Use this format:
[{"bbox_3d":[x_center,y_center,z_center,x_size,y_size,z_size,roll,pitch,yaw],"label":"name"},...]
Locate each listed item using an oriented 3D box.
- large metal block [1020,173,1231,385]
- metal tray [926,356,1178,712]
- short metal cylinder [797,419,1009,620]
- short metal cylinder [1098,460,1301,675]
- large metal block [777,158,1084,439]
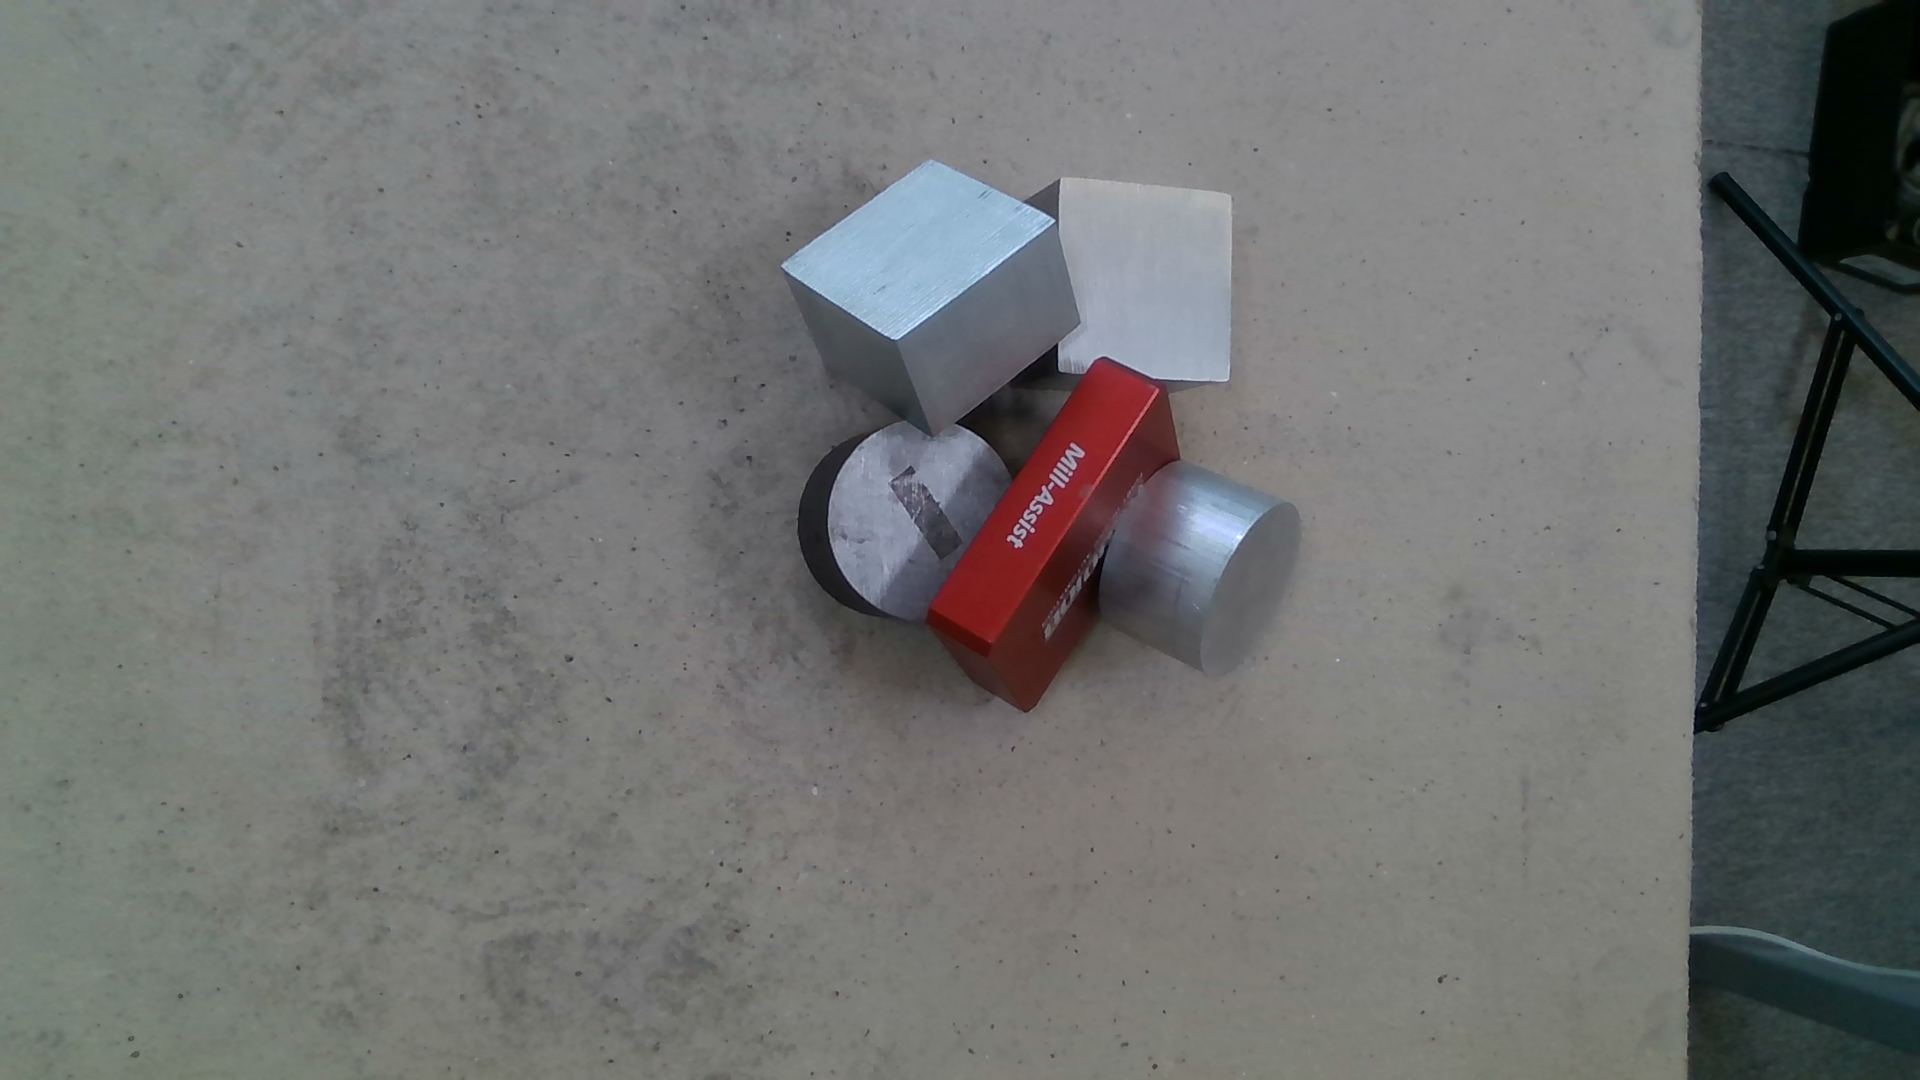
[{"bbox_3d":[0.069,-0.108,0.596,0.080,0.050,0.080,1,90,-20],"label":"large metal block"},{"bbox_3d":[0.043,-0.001,0.569,0.030,0.090,0.130,29,77,23],"label":"metal tray"},{"bbox_3d":[-0.022,-0.008,0.566,0.080,0.050,0.080,0,90,-20],"label":"short metal cylinder"},{"bbox_3d":[0.103,0.011,0.590,0.080,0.050,0.080,-35,138,-38],"label":"short metal cylinder"},{"bbox_3d":[-0.011,-0.098,0.545,0.080,0.080,0.050,-39,138,-16],"label":"large metal block"}]
